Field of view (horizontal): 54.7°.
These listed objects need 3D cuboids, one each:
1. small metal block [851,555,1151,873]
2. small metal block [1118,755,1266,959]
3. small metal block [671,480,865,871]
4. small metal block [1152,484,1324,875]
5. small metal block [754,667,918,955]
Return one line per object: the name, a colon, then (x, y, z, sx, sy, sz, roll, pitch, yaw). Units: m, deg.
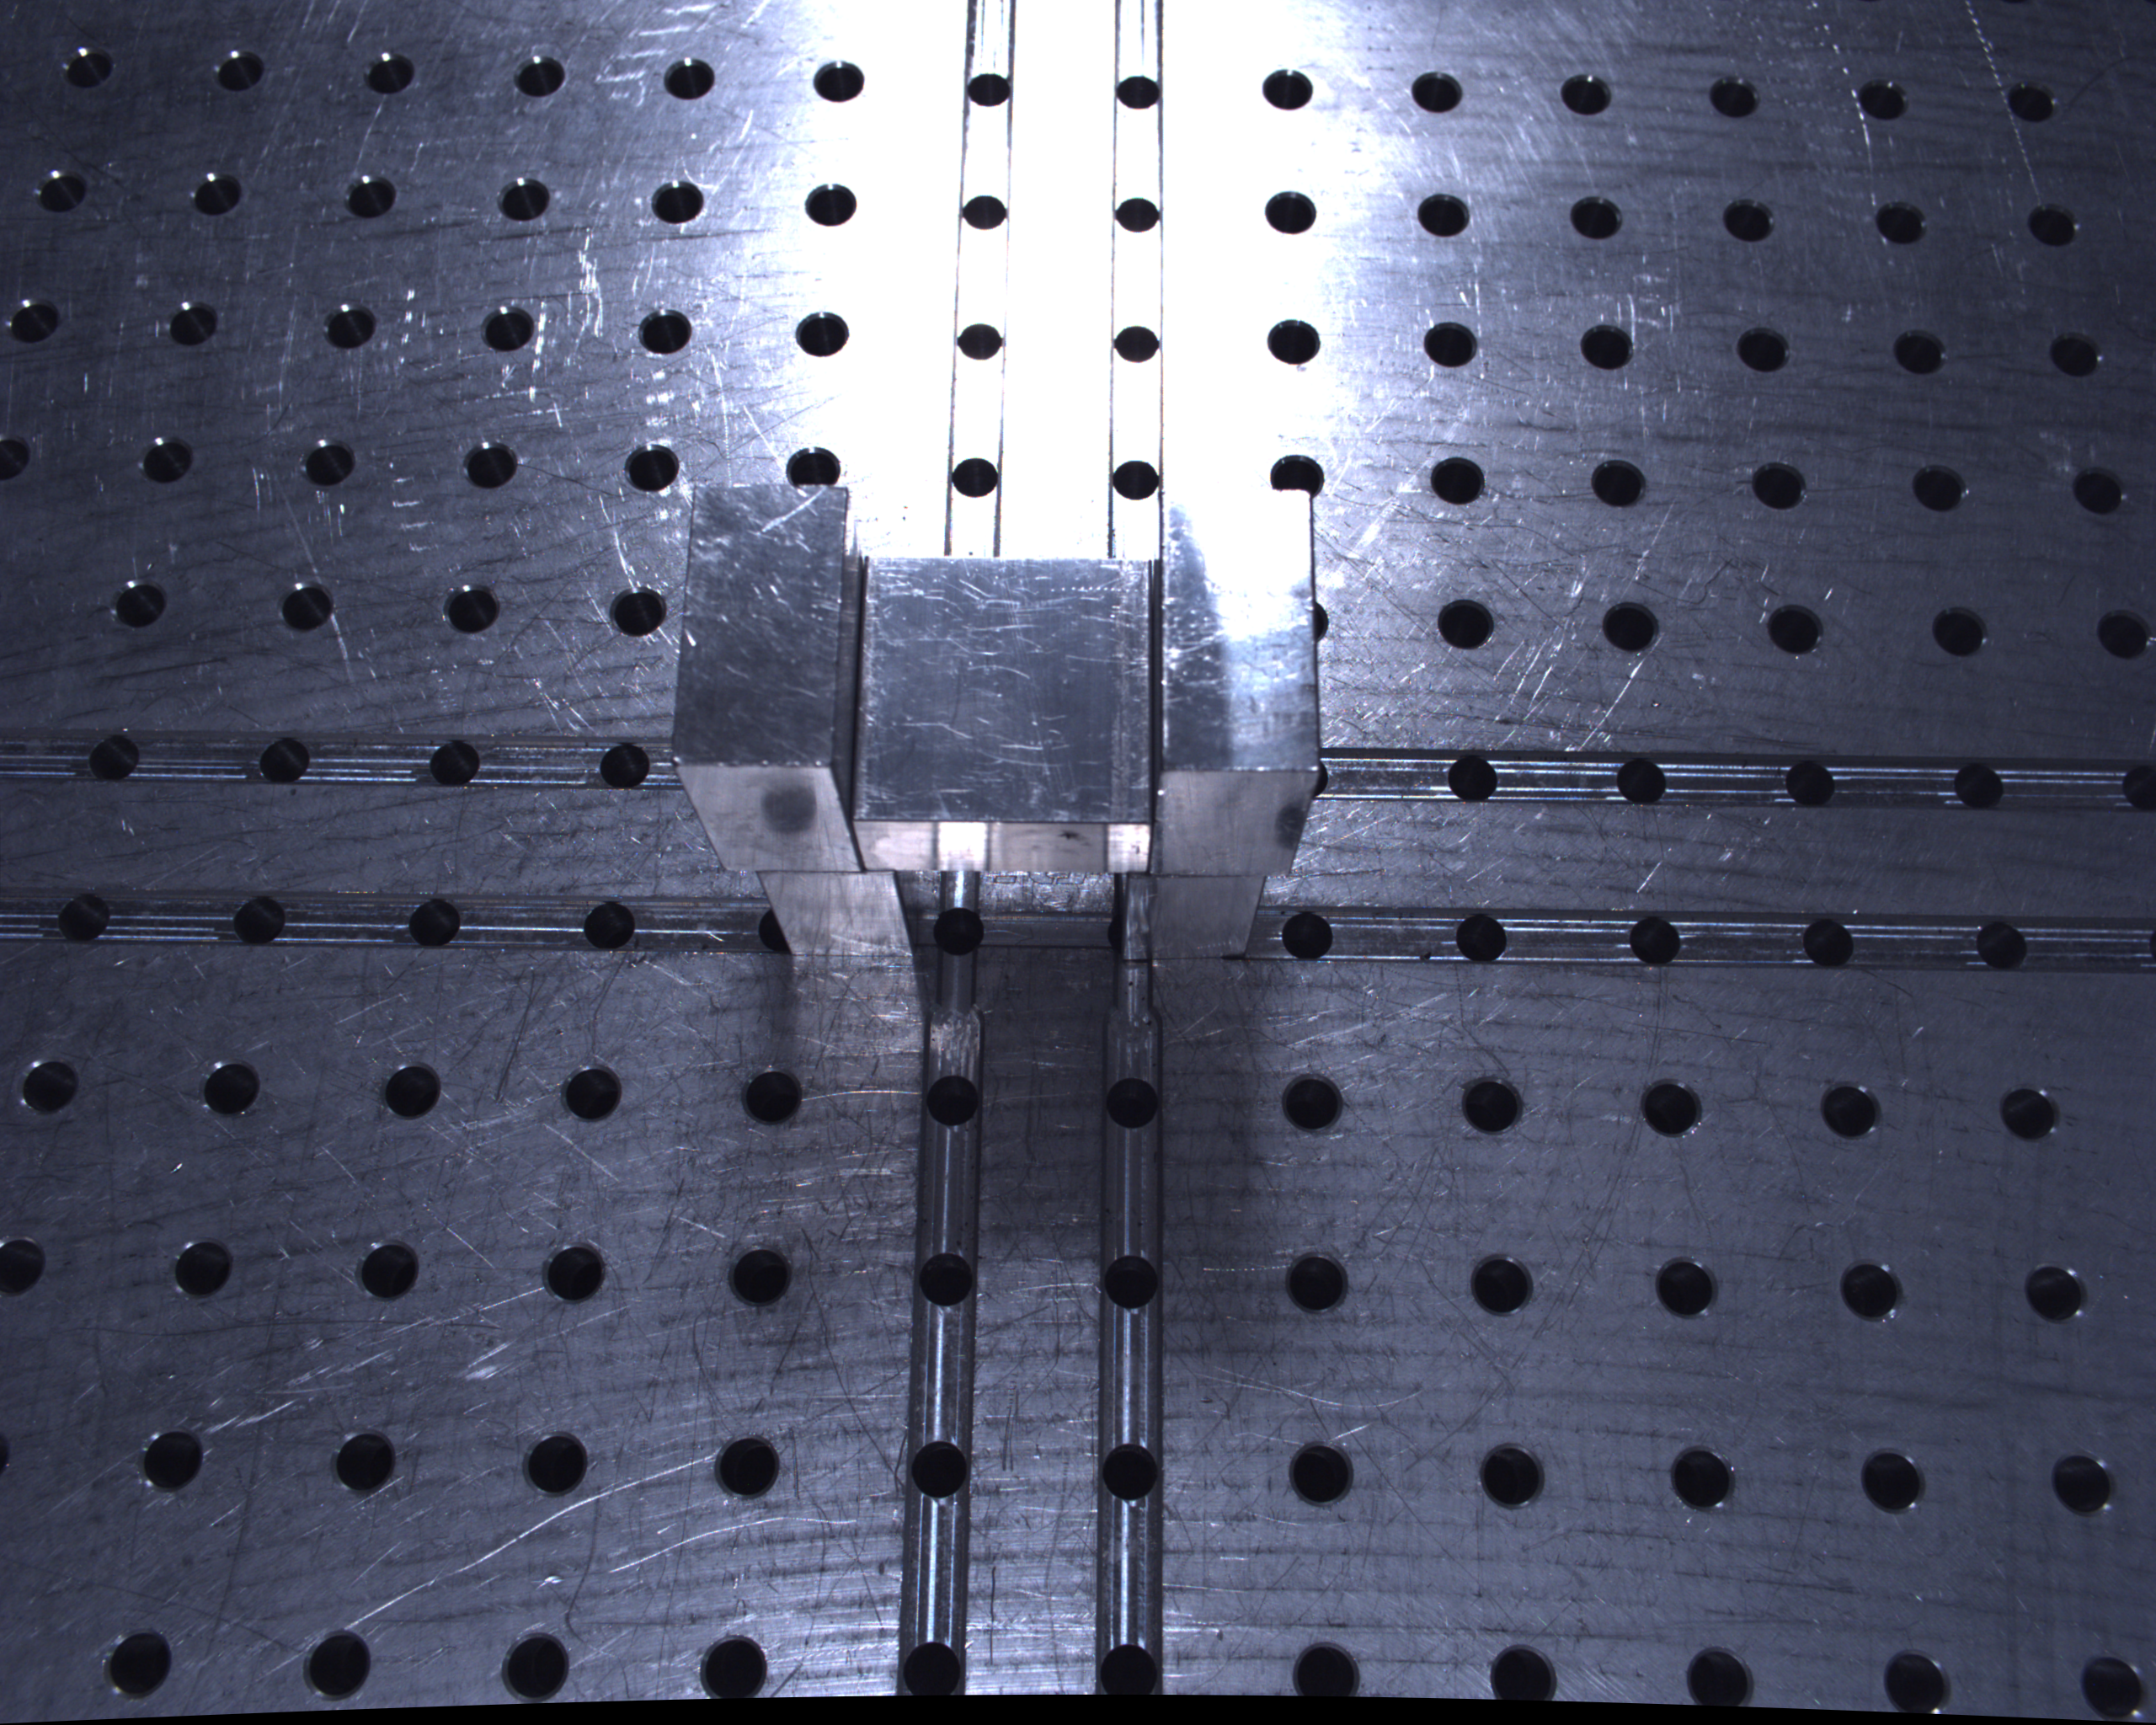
small metal block: (-0.013, -0.026, 0.369, 0.050, 0.025, 0.050, 1, 70, 0)
small metal block: (0.020, -0.013, 0.403, 0.025, 0.050, 0.050, -1, 70, -1)
small metal block: (-0.050, -0.030, 0.355, 0.025, 0.050, 0.050, 1, 70, 0)
small metal block: (0.026, -0.030, 0.355, 0.025, 0.050, 0.050, 1, 70, 0)
small metal block: (-0.045, -0.013, 0.402, 0.025, 0.050, 0.050, 1, 70, 0)
